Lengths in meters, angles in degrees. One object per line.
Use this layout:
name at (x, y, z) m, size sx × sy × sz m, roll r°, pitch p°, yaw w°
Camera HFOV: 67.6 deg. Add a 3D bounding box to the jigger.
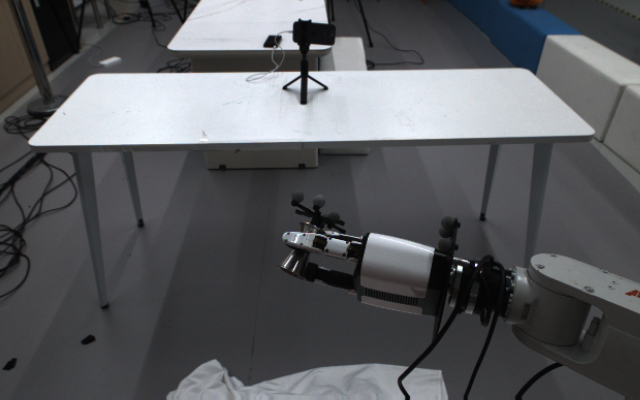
jigger at (-0.025, 0.065, 0.645) m, size 0.043 × 0.043 × 0.071 m, roll 20°, pitch 73°, yaw 24°
